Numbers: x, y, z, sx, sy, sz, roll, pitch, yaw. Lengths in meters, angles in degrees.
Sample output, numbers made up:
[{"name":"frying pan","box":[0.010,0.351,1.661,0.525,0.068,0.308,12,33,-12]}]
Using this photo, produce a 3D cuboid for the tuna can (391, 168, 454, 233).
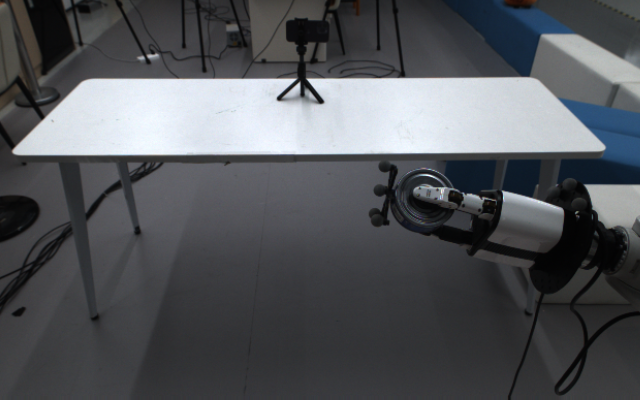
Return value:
[{"name":"tuna can","box":[0.143,-0.002,0.667,0.085,0.034,0.085,2,73,-6]}]
